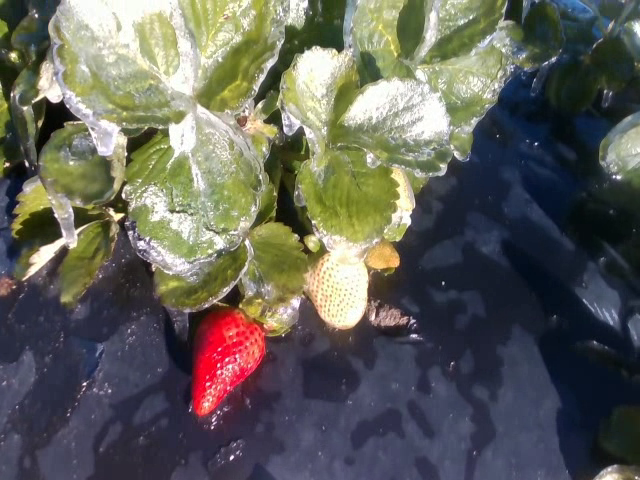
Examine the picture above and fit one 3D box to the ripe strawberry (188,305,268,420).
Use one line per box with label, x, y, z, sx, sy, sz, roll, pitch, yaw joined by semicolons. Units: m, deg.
ripe strawberry;-0.050;0.061;0.293;0.041;0.052;0.040;23;-16;7
